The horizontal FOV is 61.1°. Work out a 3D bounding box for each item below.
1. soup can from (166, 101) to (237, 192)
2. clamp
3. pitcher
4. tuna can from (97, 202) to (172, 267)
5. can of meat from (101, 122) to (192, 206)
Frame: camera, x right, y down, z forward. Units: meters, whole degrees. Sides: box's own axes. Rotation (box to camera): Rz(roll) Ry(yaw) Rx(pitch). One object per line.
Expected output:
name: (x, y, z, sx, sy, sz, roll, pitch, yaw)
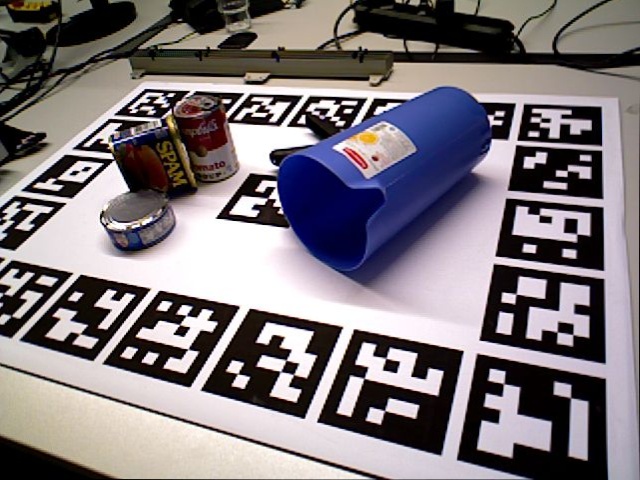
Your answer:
soup can: (-0.159, -0.126, 0.742, 0.068, 0.104, 0.067, -9, 42, 7)
clamp: (0.011, -0.115, 0.752, 0.166, 0.037, 0.119, 11, 42, 19)
pitcher: (0.073, -0.076, 0.599, 0.237, 0.135, 0.191, -34, 23, -33)
tuna can: (-0.229, -0.008, 0.675, 0.086, 0.034, 0.084, -7, 43, 6)
can of meat: (-0.226, -0.090, 0.710, 0.083, 0.103, 0.057, -20, 43, -4)
